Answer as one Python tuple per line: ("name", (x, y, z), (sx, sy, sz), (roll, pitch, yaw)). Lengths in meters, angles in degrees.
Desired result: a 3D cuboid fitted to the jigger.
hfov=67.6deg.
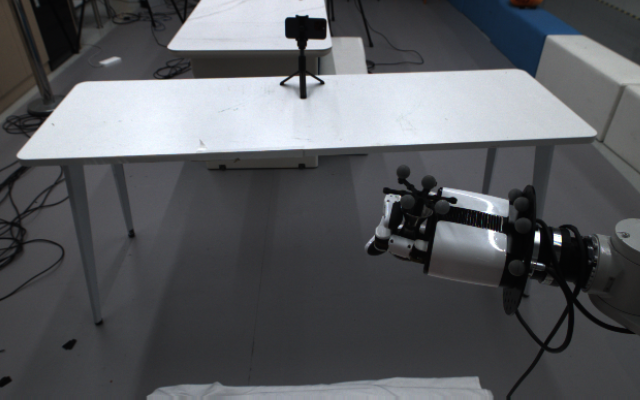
("jigger", (0.116, 0.038, 0.613), (0.043, 0.071, 0.043), (7, 32, -4))
